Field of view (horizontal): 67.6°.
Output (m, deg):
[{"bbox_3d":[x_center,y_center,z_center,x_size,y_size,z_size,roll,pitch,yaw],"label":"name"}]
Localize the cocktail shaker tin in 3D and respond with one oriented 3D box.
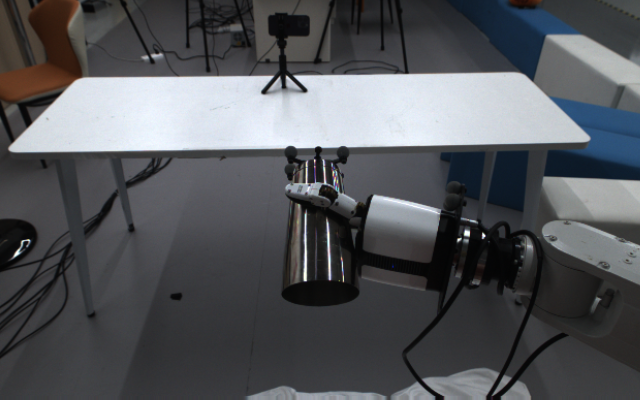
[{"bbox_3d":[-0.002,0.036,0.602,0.093,0.093,0.170,0,59,-3],"label":"cocktail shaker tin"}]
